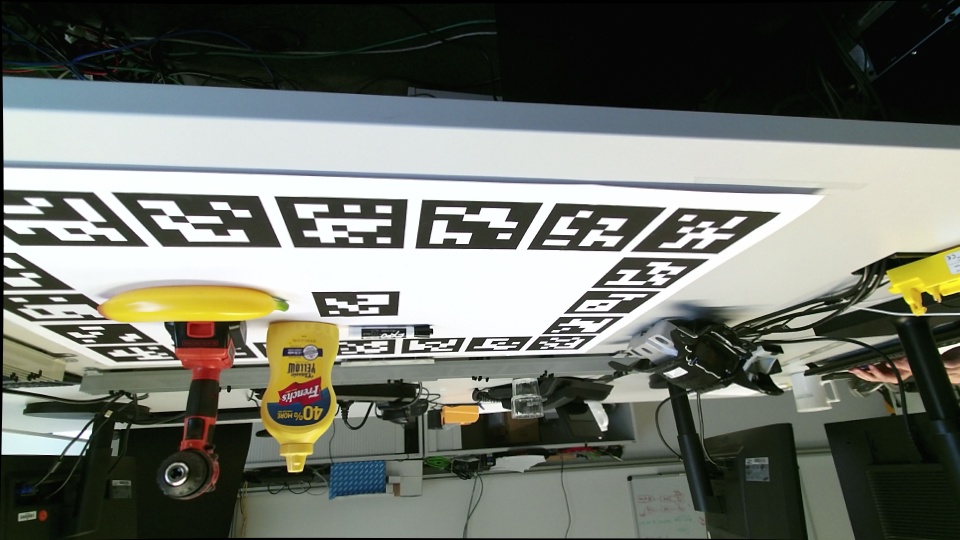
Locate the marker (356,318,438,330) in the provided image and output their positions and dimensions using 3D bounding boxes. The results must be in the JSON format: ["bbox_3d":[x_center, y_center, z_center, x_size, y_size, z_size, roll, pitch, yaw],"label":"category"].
[{"bbox_3d":[-0.123,0.080,0.797,0.121,0.019,0.019,1,154,-13],"label":"marker"}]

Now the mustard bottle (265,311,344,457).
[{"bbox_3d":[-0.239,0.153,0.729,0.096,0.190,0.058,6,153,-20],"label":"mustard bottle"}]

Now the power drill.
[{"bbox_3d":[-0.330,0.140,0.645,0.057,0.186,0.185,8,155,-22],"label":"power drill"}]

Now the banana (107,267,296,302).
[{"bbox_3d":[-0.313,0.017,0.608,0.198,0.038,0.074,2,153,-19],"label":"banana"}]
